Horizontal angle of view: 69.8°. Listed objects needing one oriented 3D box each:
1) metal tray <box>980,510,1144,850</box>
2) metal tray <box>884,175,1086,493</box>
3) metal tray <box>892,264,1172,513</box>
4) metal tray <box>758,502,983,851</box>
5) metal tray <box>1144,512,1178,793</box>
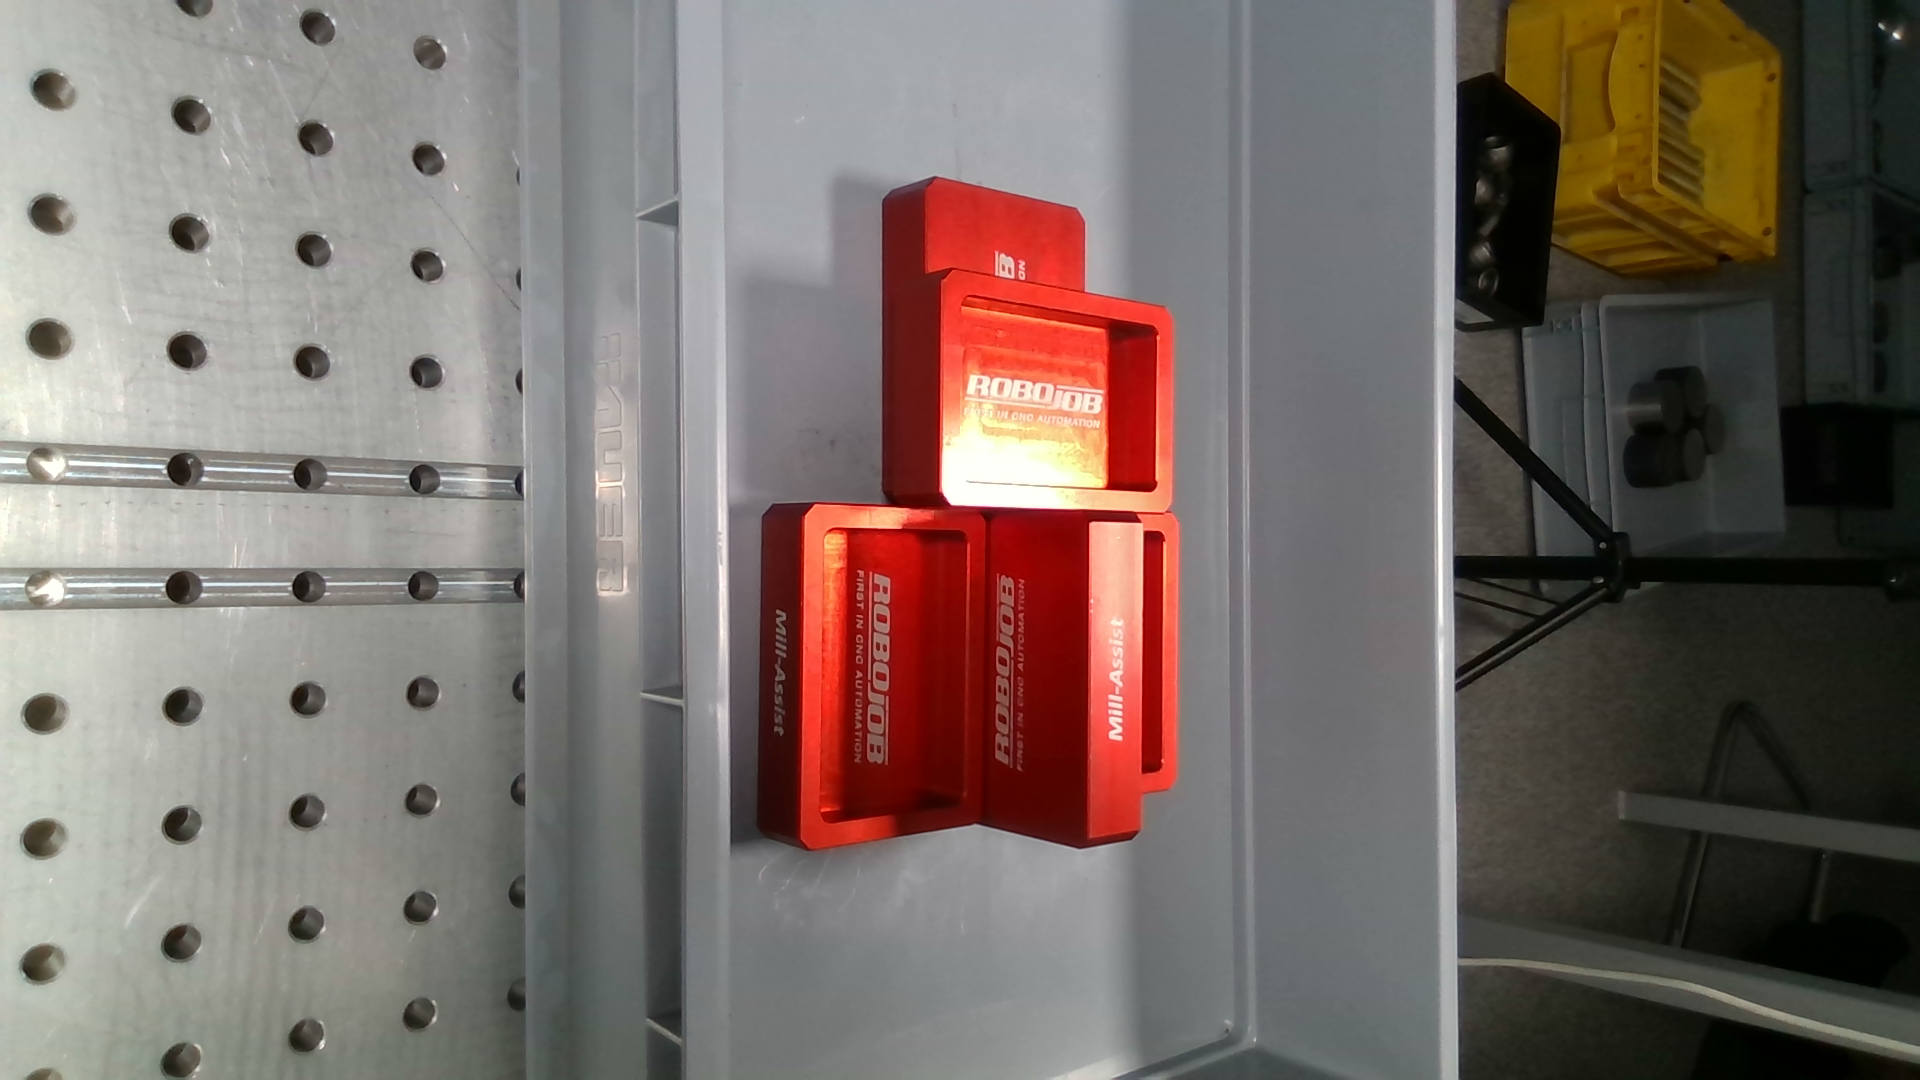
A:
[{"bbox_3d":[0.032,0.054,0.565,0.030,0.090,0.130,1,90,-40],"label":"metal tray"},{"bbox_3d":[0.012,-0.081,0.586,0.090,0.030,0.130,0,90,-40],"label":"metal tray"},{"bbox_3d":[0.033,-0.057,0.566,0.130,0.030,0.090,1,89,-40],"label":"metal tray"},{"bbox_3d":[-0.034,0.051,0.549,0.090,0.030,0.130,1,90,-40],"label":"metal tray"},{"bbox_3d":[0.058,0.051,0.628,0.090,0.030,0.130,1,90,-40],"label":"metal tray"}]
